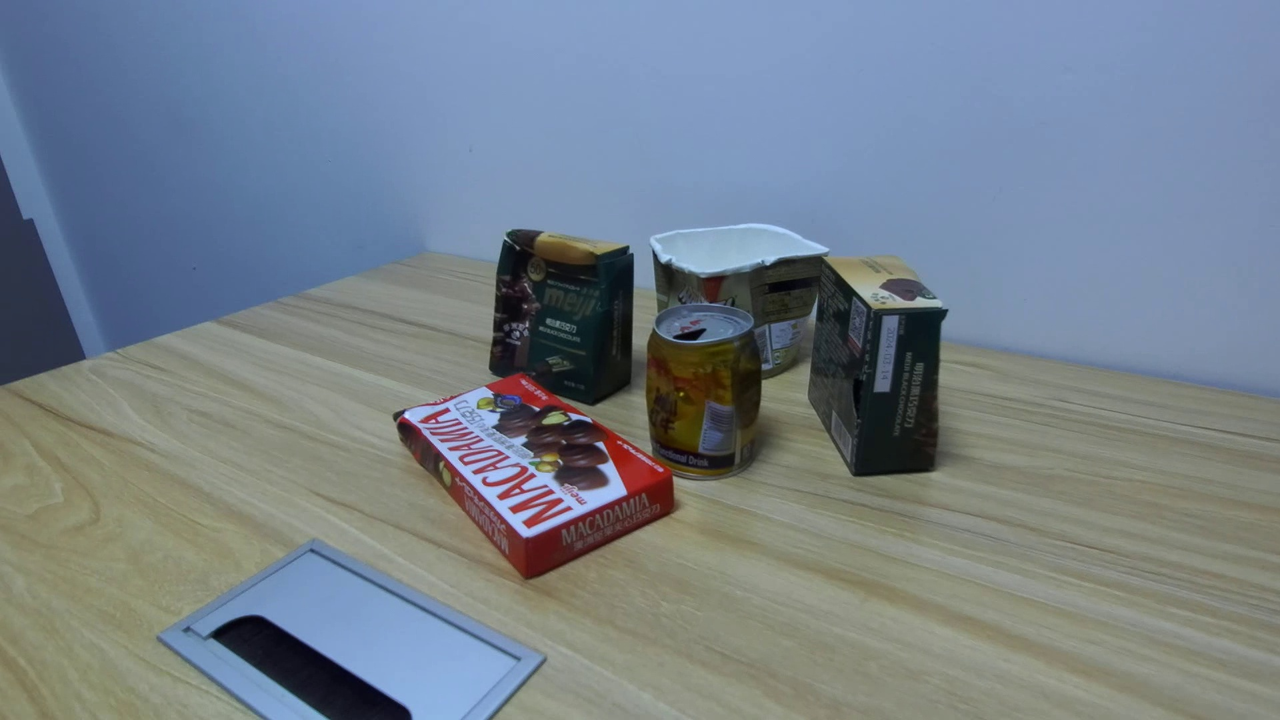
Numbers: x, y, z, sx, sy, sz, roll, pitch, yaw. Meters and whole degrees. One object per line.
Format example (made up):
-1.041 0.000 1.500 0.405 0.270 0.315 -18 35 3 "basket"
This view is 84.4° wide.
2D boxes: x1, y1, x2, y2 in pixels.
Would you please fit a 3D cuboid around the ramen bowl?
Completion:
0.068 -0.053 0.580 0.114 0.097 0.133 -18 30 -30 "ramen bowl"

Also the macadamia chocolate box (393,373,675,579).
-0.071 0.058 0.438 0.106 0.028 0.182 -19 29 -32 "macadamia chocolate box"

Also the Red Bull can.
0.038 0.018 0.431 0.072 0.092 0.072 -1 25 1 "Red Bull can"

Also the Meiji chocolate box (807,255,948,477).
0.153 0.000 0.449 0.058 0.111 0.113 -1 23 -1 "Meiji chocolate box"

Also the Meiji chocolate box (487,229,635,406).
-0.059 -0.037 0.541 0.117 0.117 0.052 15 21 33 "Meiji chocolate box"
